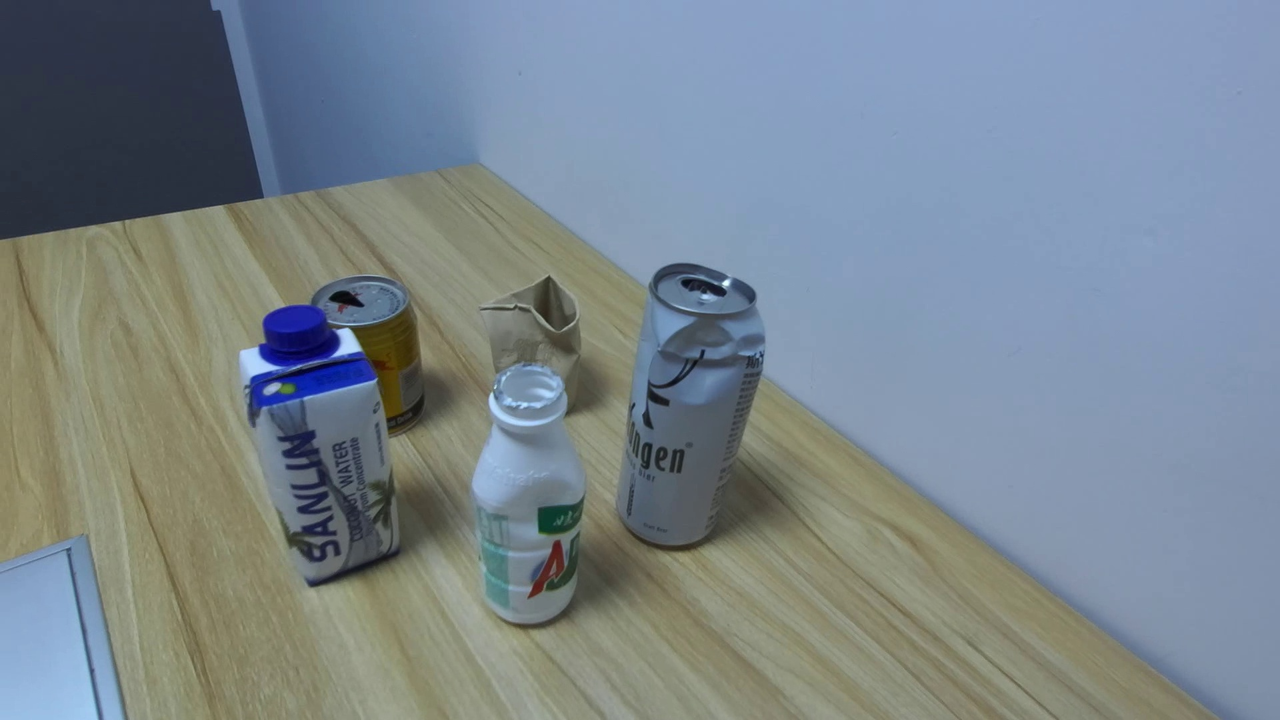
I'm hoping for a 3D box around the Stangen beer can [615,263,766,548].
[{"bbox_3d":[0.026,0.030,0.399,0.066,0.166,0.066,4,36,-5],"label":"Stangen beer can"}]

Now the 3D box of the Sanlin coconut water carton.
[{"bbox_3d":[-0.161,0.046,0.363,0.061,0.144,0.060,-19,44,-32],"label":"Sanlin coconut water carton"}]

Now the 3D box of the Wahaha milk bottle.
[{"bbox_3d":[-0.053,0.070,0.347,0.056,0.149,0.055,5,38,-3],"label":"Wahaha milk bottle"}]

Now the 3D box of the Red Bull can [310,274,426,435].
[{"bbox_3d":[-0.180,-0.001,0.471,0.067,0.093,0.067,4,38,-3],"label":"Red Bull can"}]

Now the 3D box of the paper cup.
[{"bbox_3d":[-0.075,-0.006,0.501,0.058,0.083,0.066,-18,42,-25],"label":"paper cup"}]
